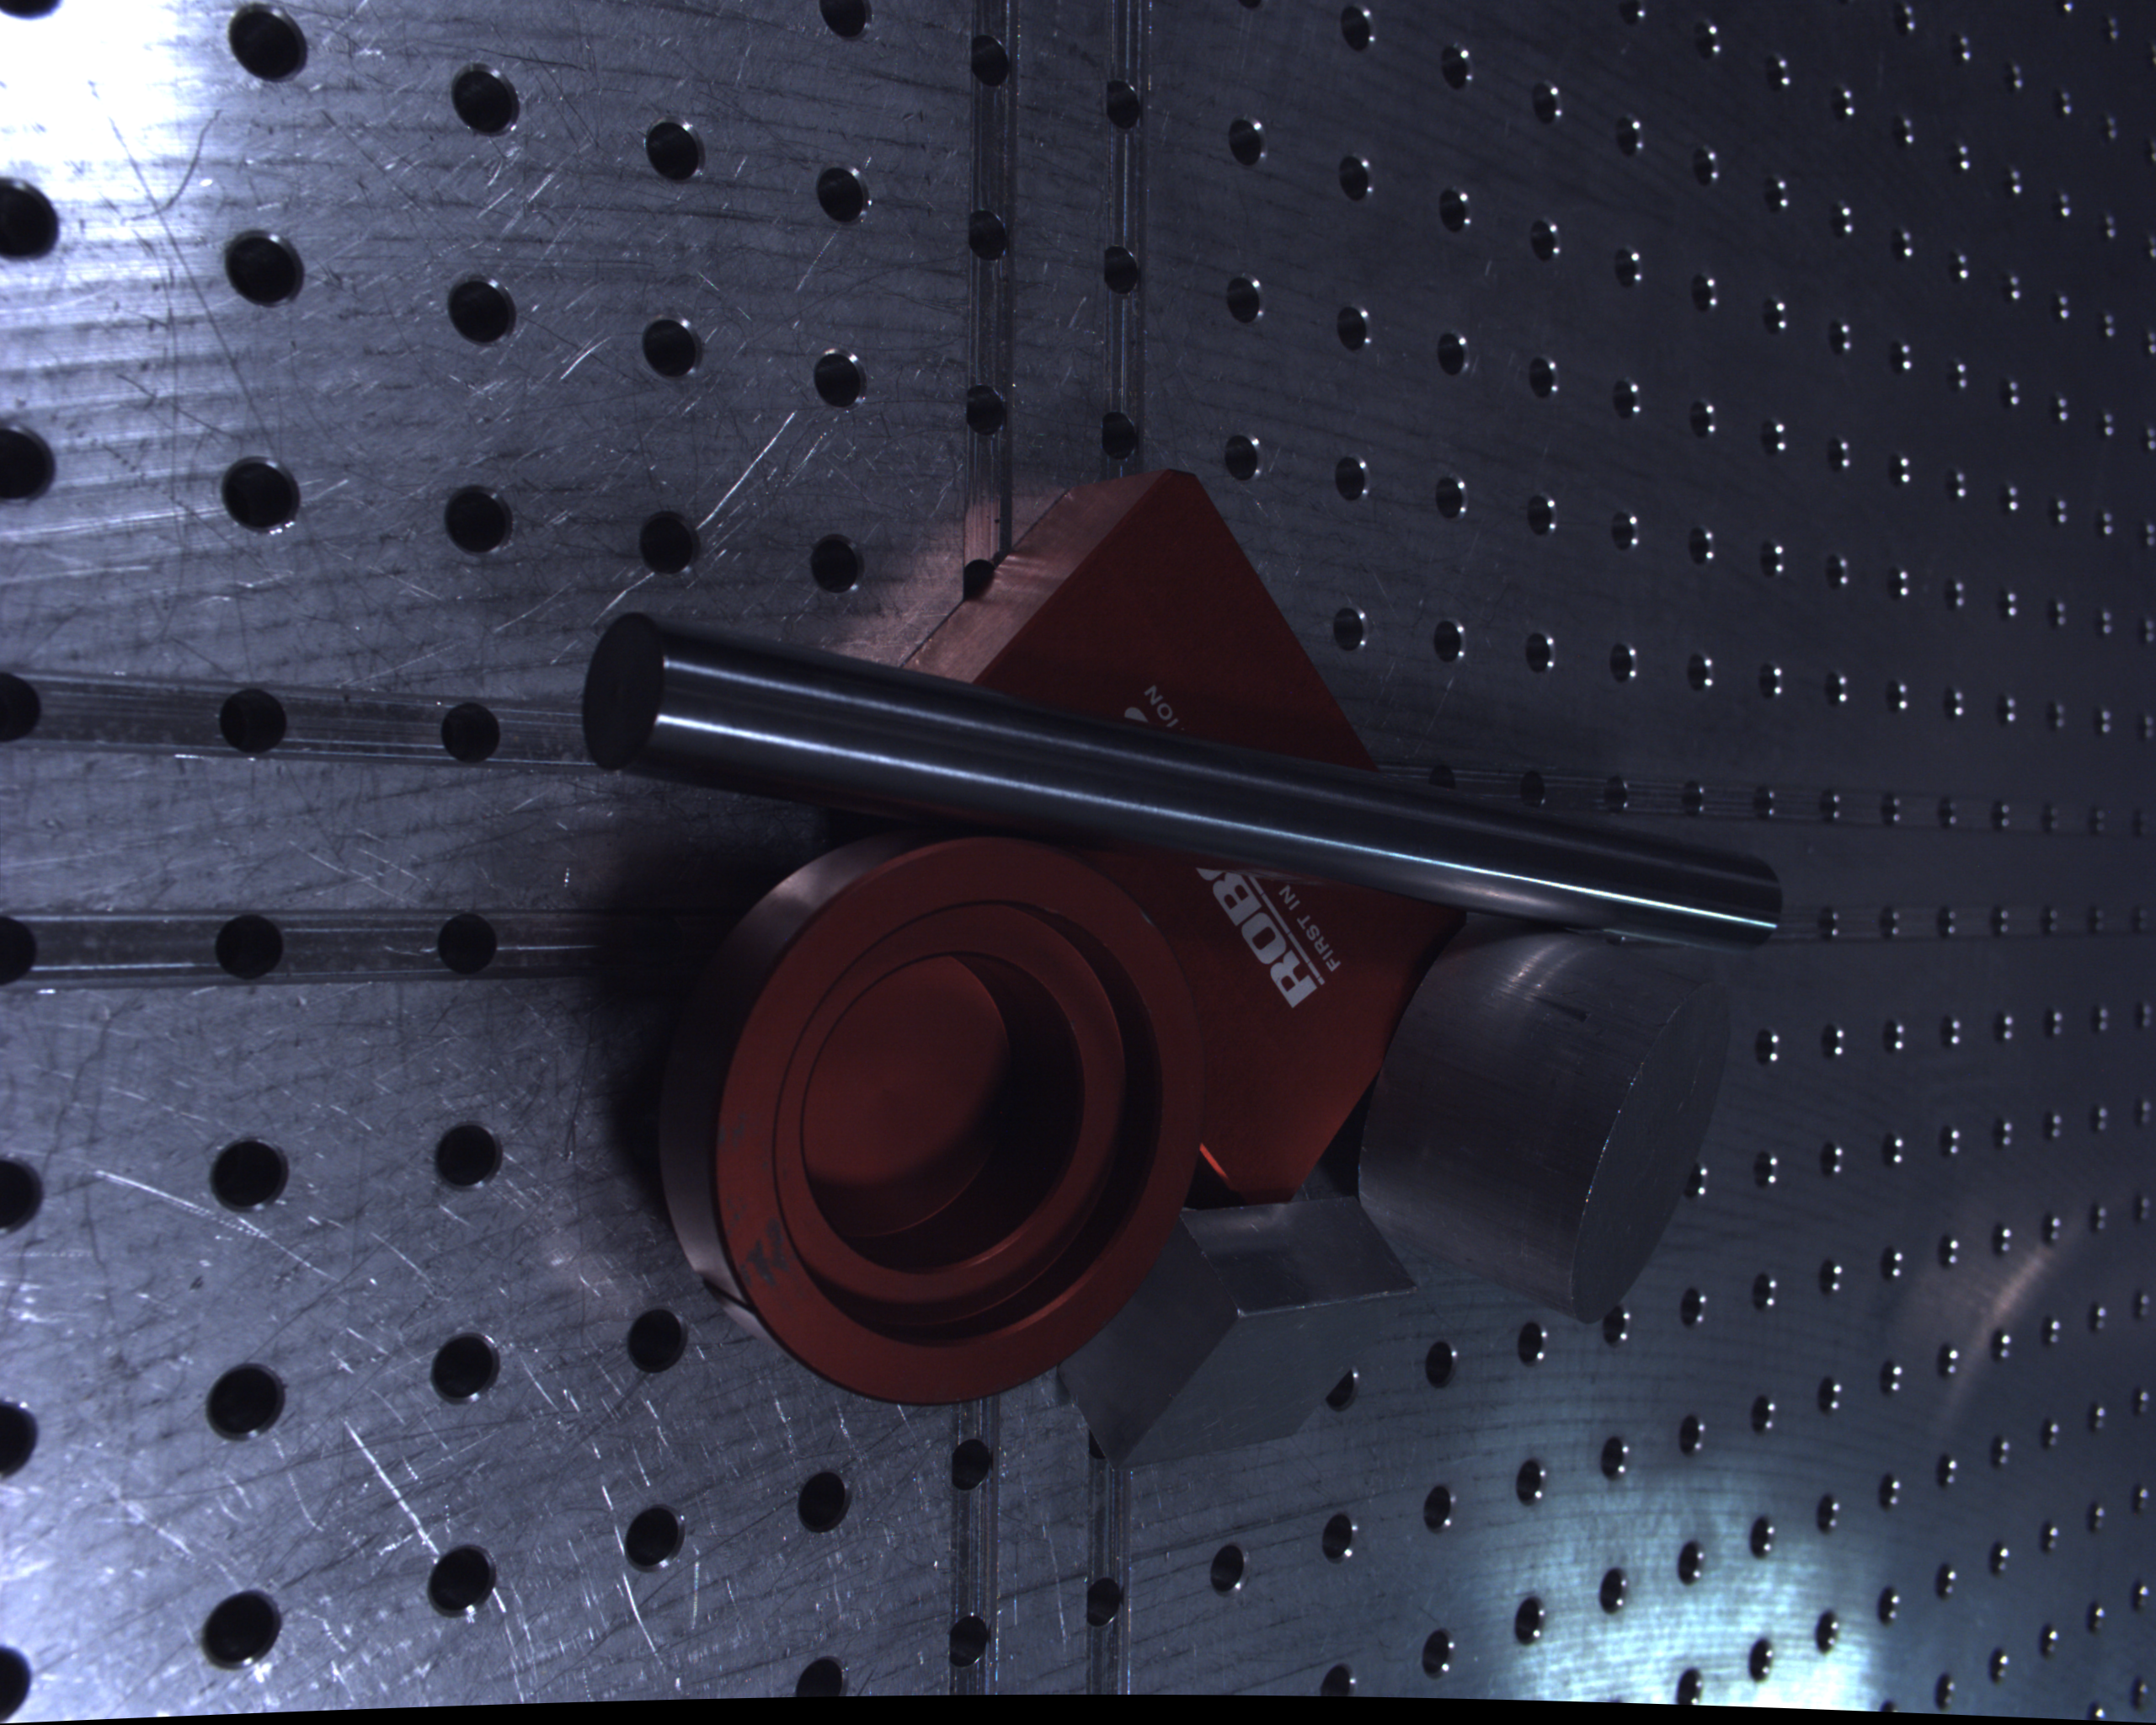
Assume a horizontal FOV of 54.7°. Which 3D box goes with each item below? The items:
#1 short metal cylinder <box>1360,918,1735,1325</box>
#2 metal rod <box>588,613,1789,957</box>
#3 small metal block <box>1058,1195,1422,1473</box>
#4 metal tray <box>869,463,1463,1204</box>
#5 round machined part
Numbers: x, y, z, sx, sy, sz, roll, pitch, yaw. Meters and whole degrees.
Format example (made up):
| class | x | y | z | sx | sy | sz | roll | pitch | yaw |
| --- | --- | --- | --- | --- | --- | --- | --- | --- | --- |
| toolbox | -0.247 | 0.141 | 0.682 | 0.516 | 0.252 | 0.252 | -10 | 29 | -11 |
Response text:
| class | x | y | z | sx | sy | sz | roll | pitch | yaw |
| --- | --- | --- | --- | --- | --- | --- | --- | --- | --- |
| short metal cylinder | 0.105 | 0.055 | 0.464 | 0.081 | 0.050 | 0.079 | -36 | 137 | -43 |
| metal rod | 0.047 | -0.007 | 0.410 | 0.302 | 0.025 | 0.025 | 9 | 84 | -40 |
| small metal block | 0.032 | 0.094 | 0.421 | 0.050 | 0.025 | 0.050 | 3 | 131 | -41 |
| metal tray | 0.020 | -0.004 | 0.426 | 0.090 | 0.030 | 0.130 | -51 | 120 | -28 |
| round machined part | -0.028 | 0.042 | 0.370 | 0.099 | 0.042 | 0.097 | -5 | 99 | -34 |
